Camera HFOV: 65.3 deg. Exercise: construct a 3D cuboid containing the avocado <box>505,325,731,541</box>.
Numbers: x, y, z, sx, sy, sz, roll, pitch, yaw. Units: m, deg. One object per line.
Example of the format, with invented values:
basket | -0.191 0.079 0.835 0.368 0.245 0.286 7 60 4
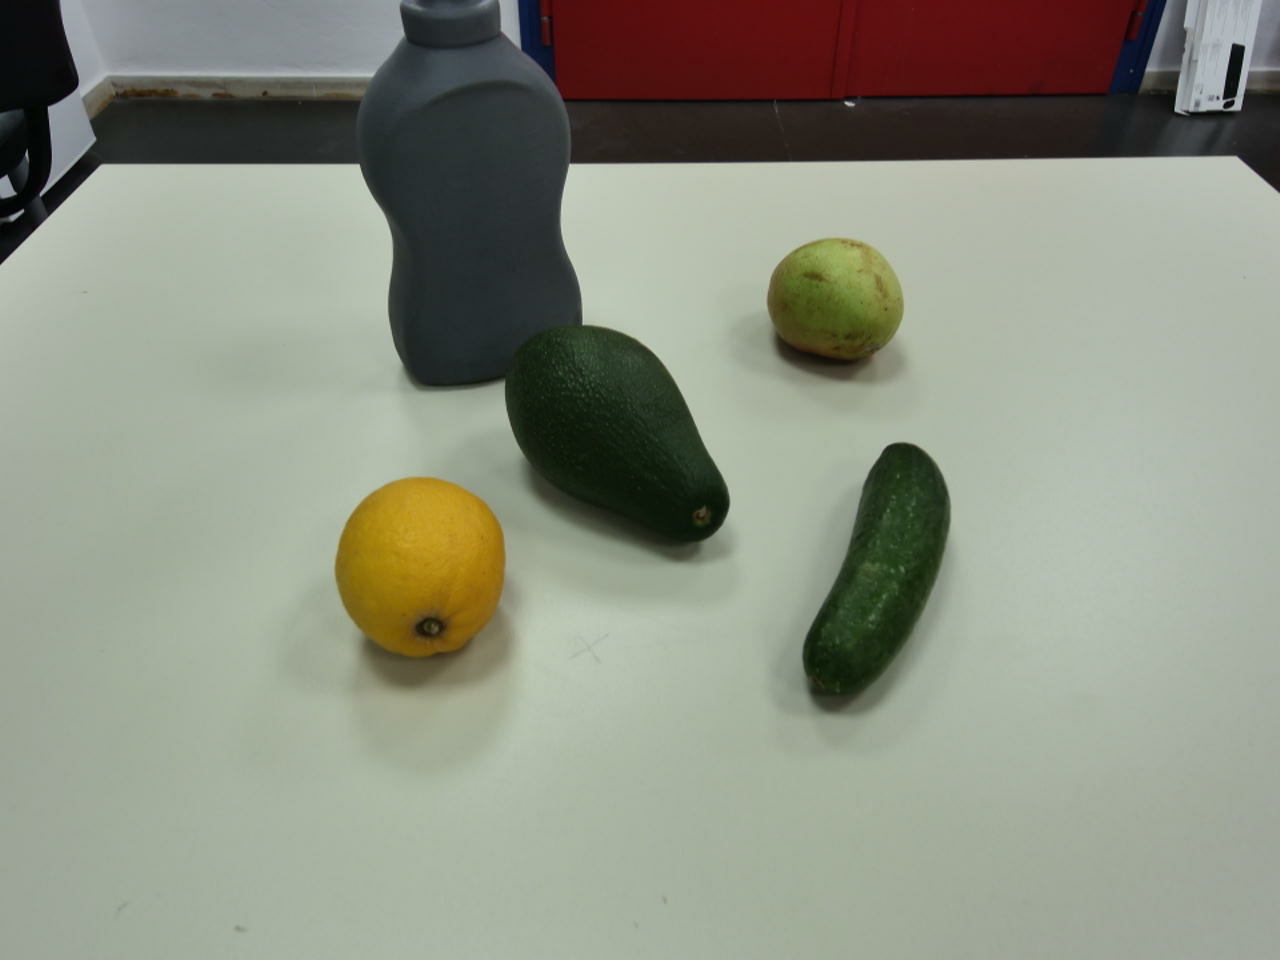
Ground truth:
avocado | -0.013 -0.021 0.417 0.072 0.071 0.109 -15 41 -18
